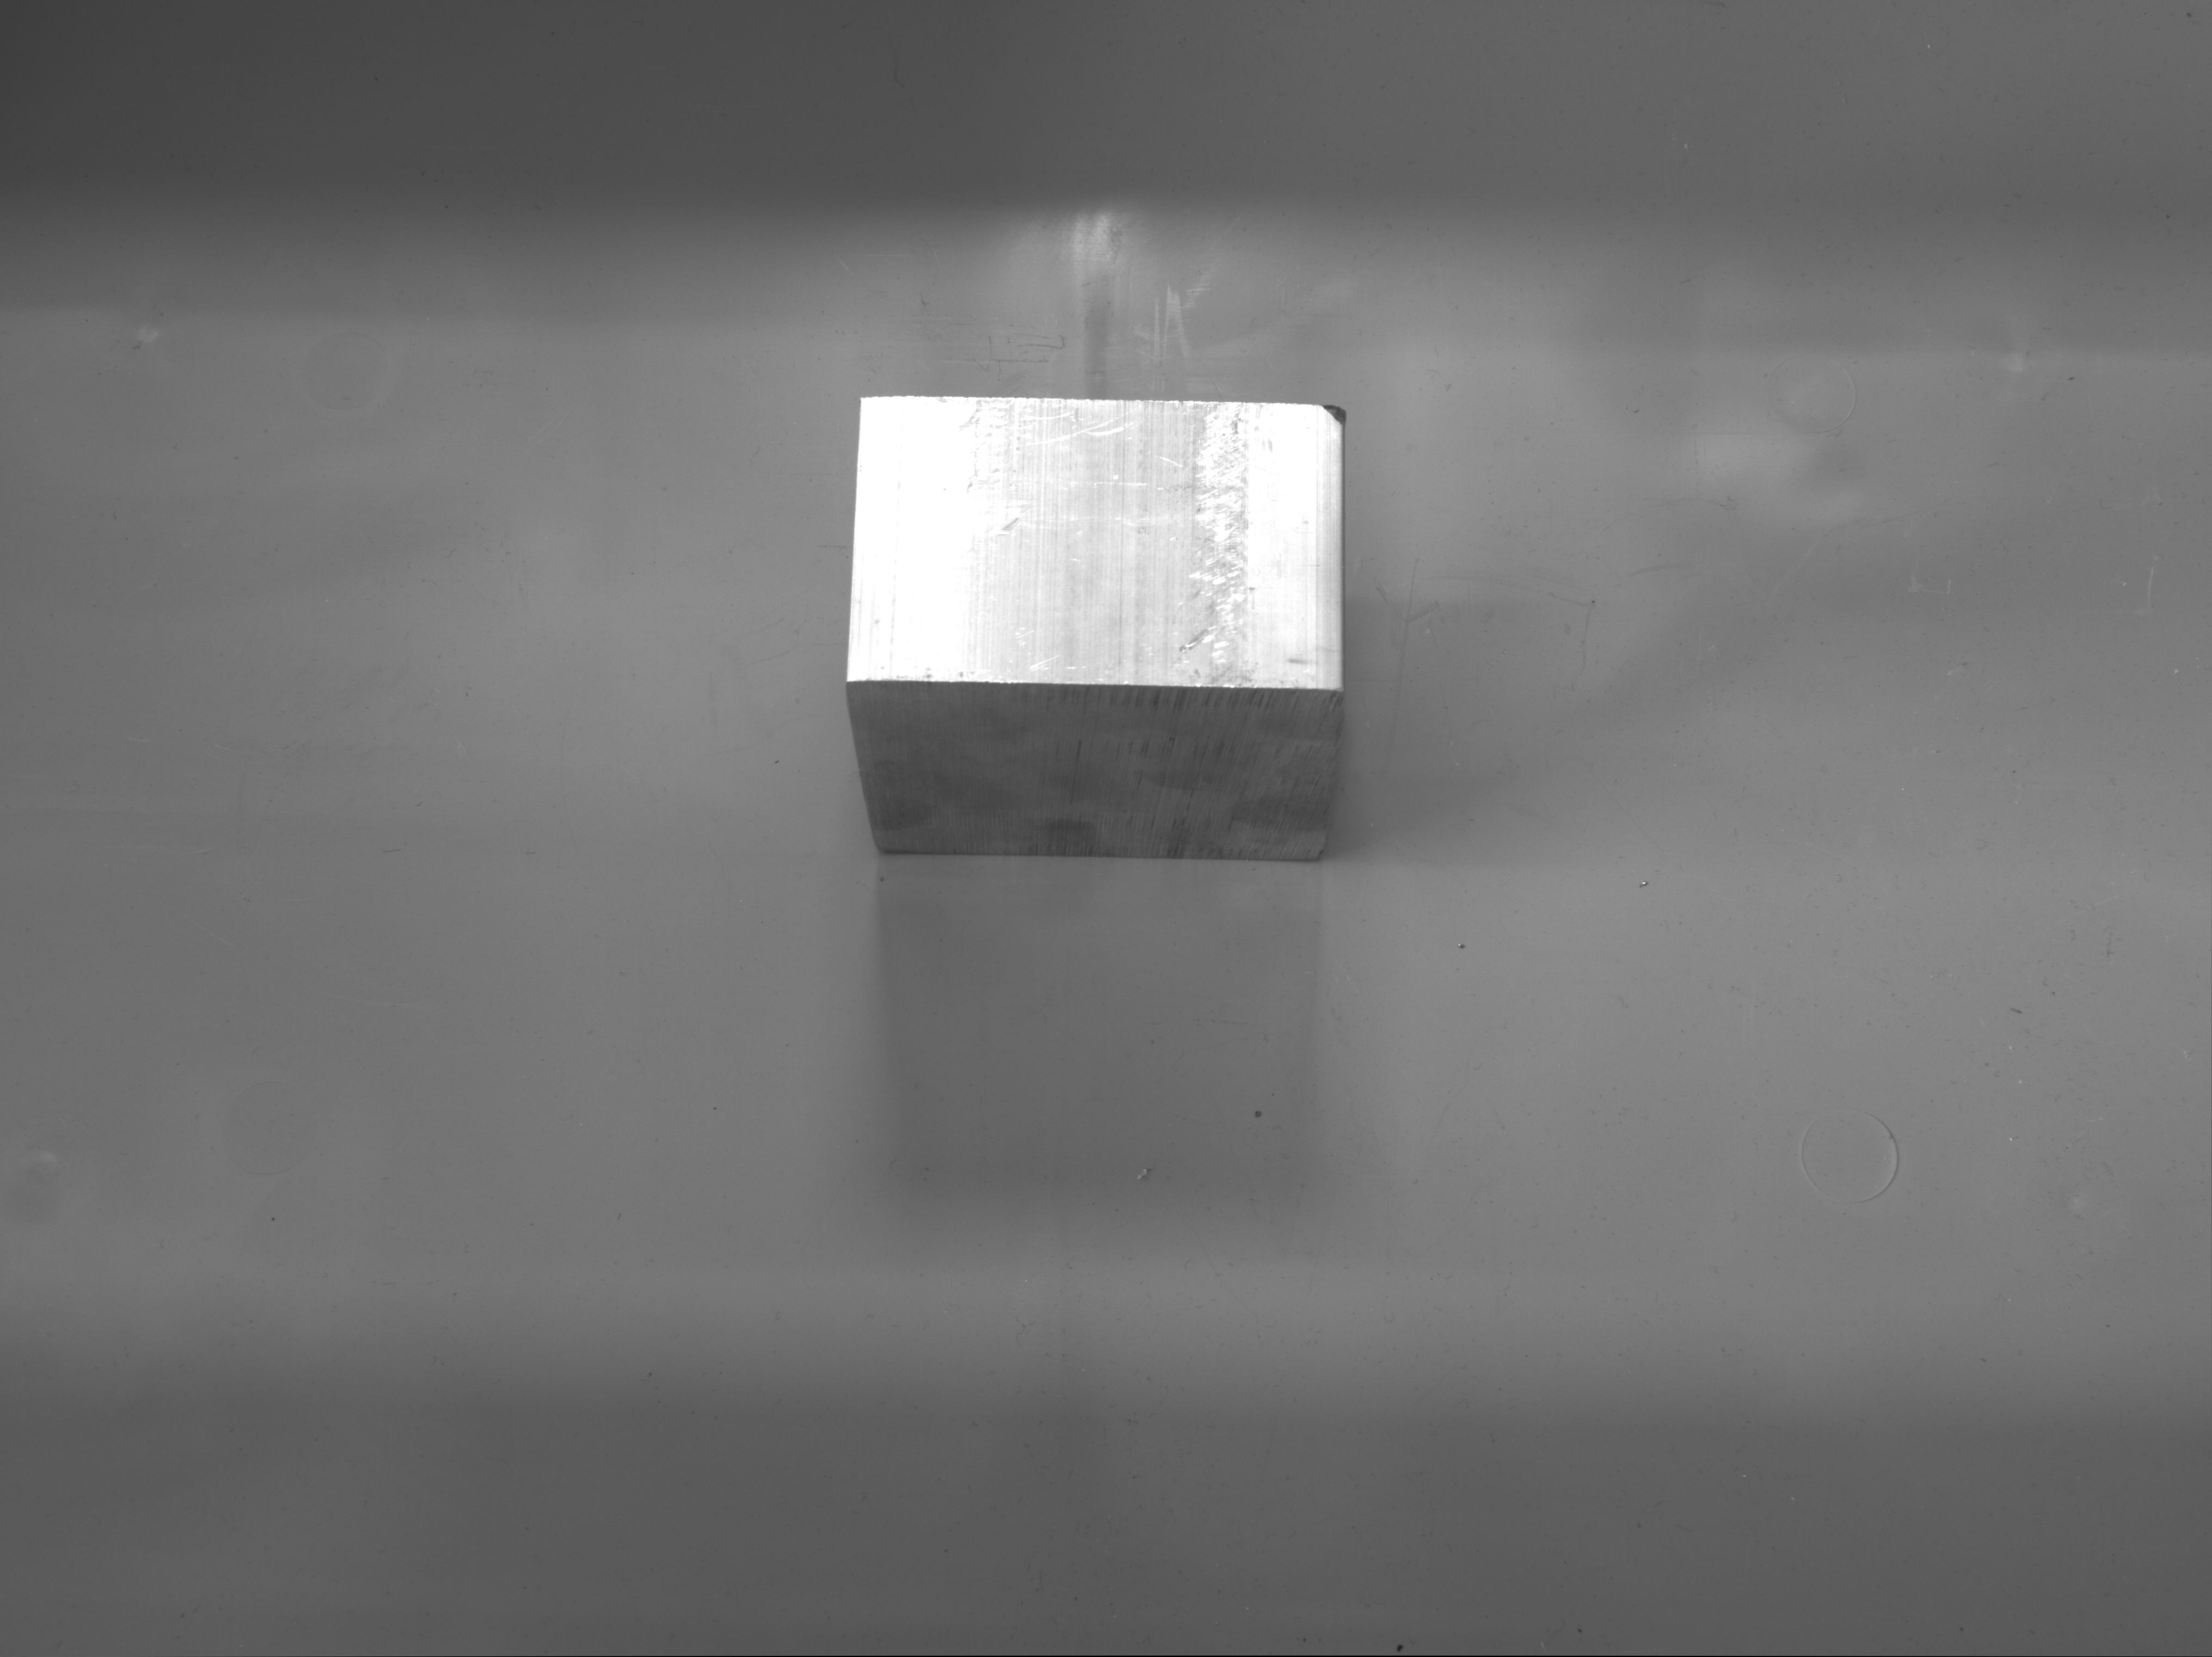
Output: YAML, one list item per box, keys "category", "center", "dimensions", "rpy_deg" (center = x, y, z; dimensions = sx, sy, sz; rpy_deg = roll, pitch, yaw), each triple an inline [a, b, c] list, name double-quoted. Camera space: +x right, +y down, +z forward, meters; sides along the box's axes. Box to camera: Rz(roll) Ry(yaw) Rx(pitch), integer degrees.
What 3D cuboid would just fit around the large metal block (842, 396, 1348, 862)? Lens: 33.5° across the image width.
- category: "large metal block"
  center: [-0.001, -0.032, 0.626]
  dimensions: [0.080, 0.080, 0.050]
  rpy_deg: [1, 70, 0]
